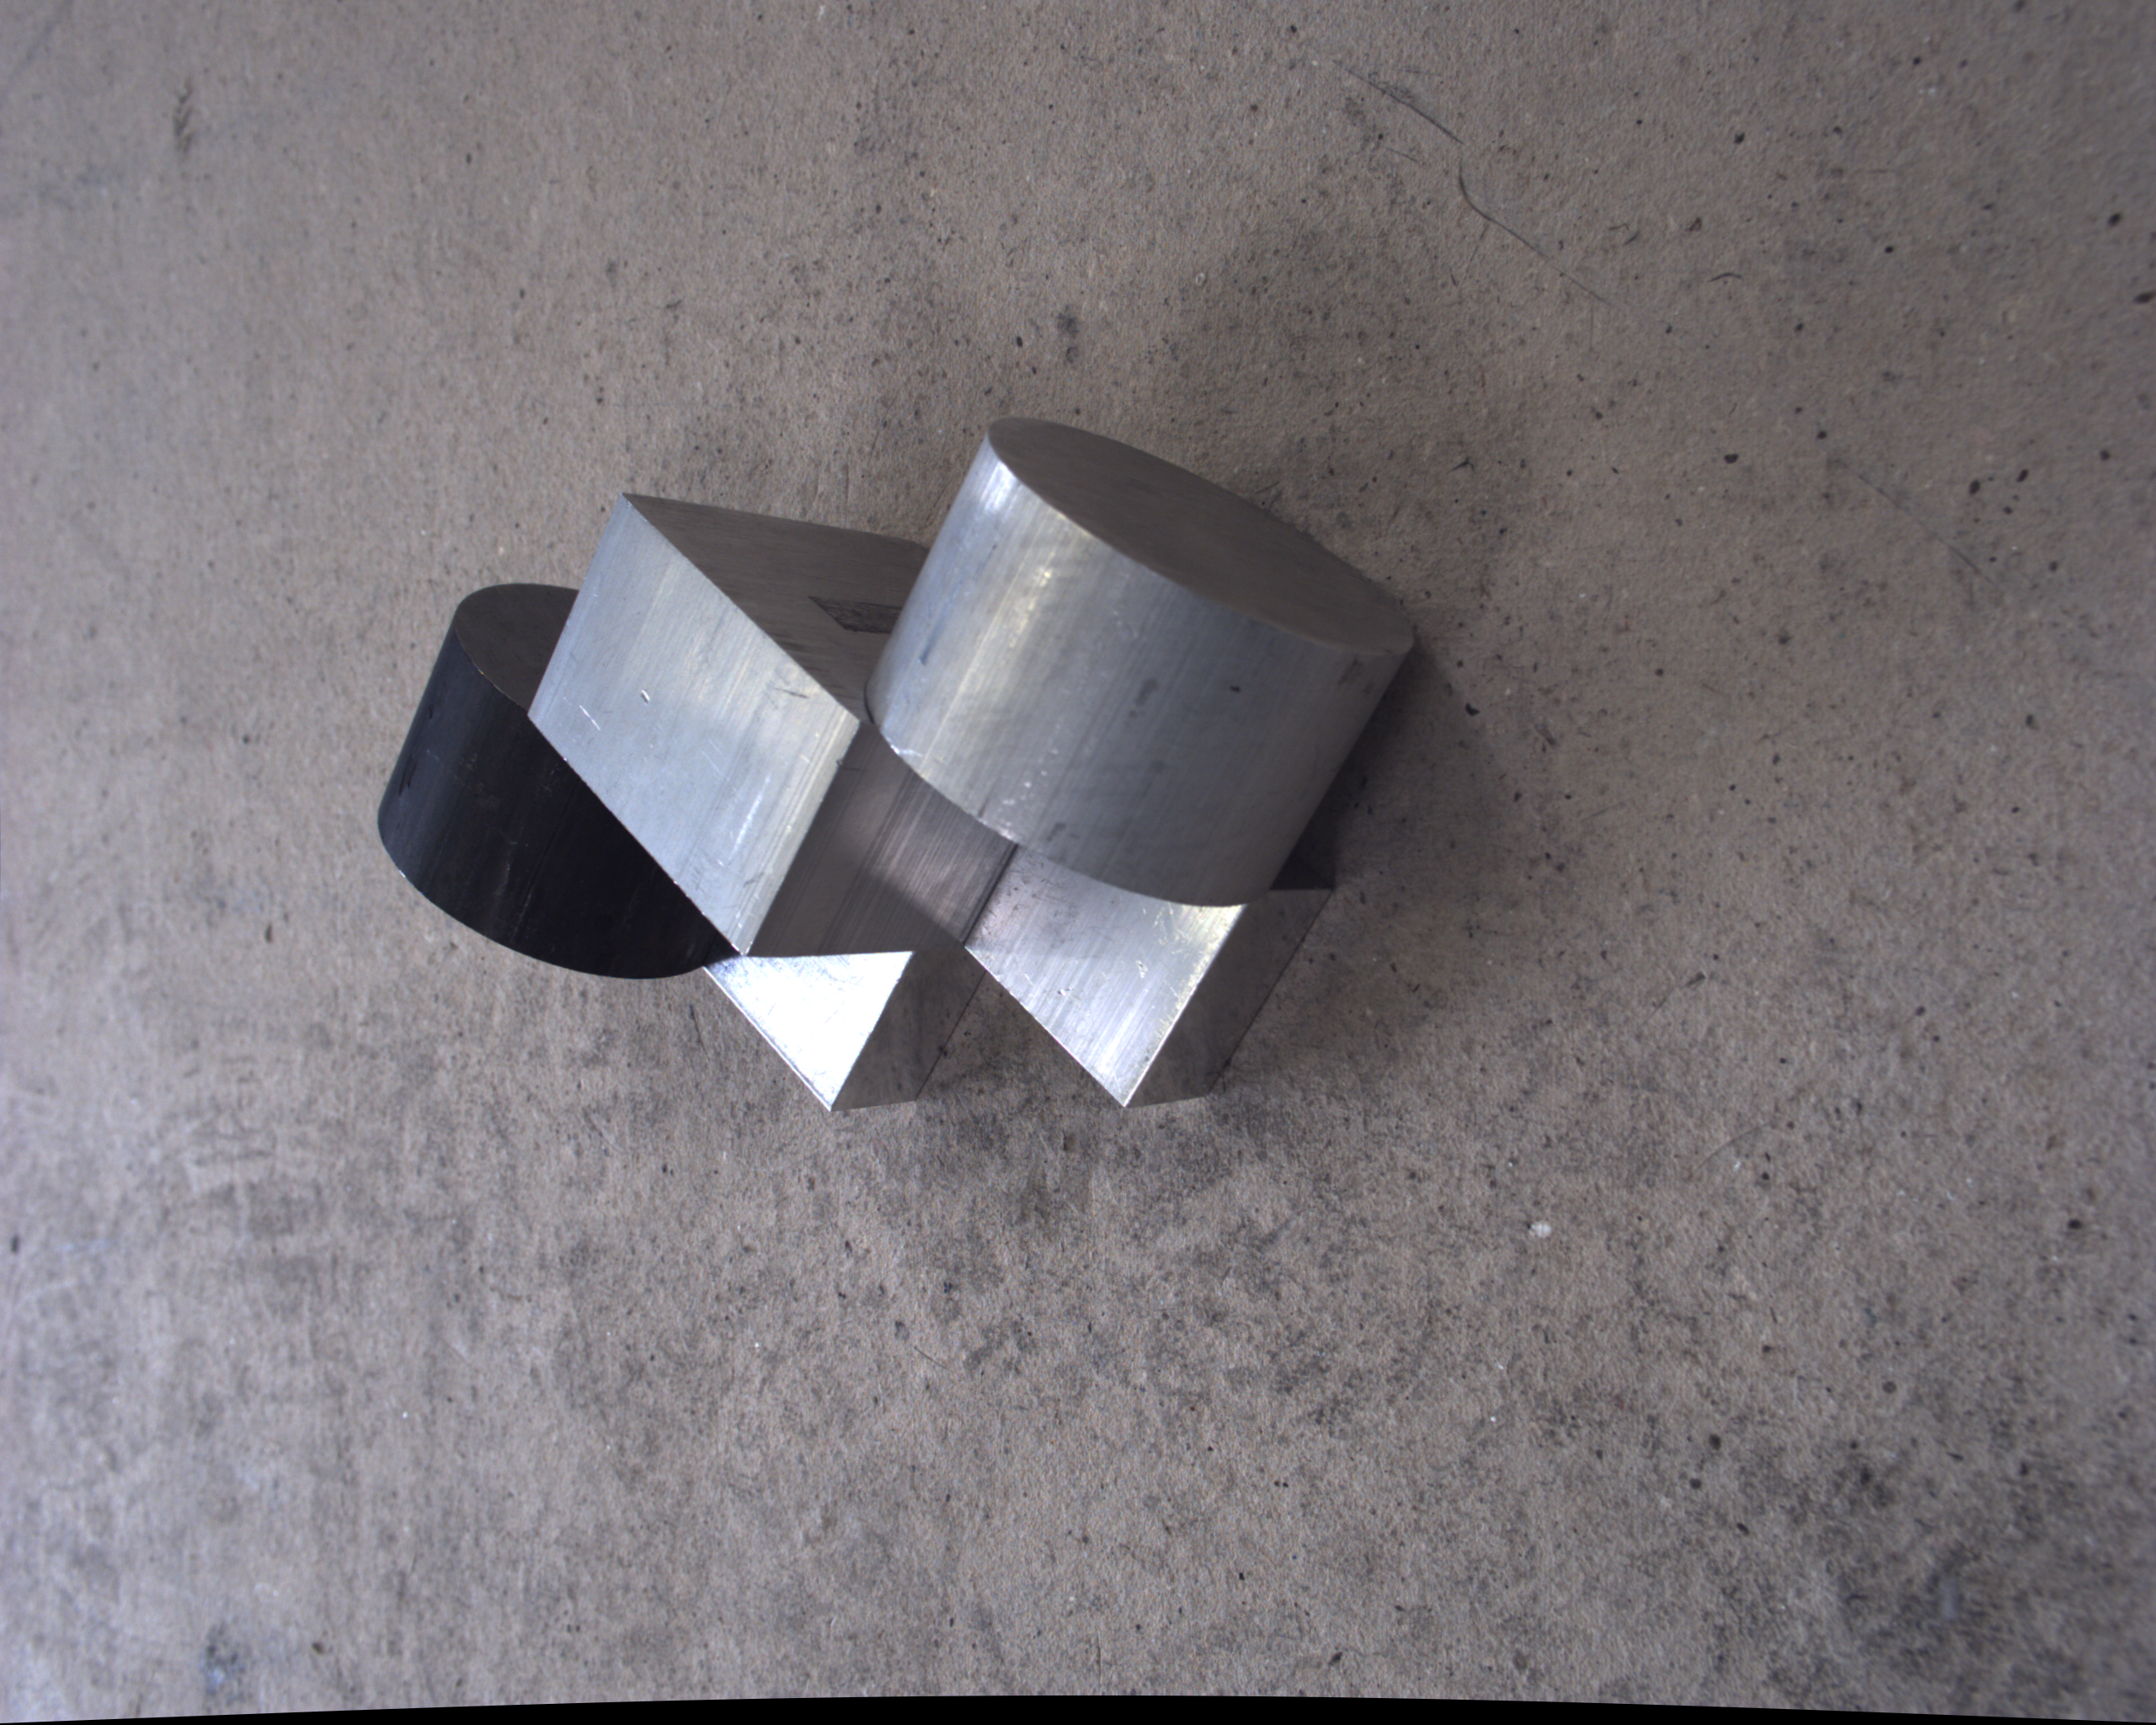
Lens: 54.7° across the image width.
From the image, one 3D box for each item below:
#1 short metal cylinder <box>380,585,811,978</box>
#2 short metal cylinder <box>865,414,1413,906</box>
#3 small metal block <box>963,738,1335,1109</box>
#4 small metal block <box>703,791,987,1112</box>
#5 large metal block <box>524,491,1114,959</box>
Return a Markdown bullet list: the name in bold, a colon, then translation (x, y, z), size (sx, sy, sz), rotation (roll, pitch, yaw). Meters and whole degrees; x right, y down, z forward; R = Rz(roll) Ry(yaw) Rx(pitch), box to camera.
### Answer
- **short metal cylinder**: translation (-0.105, -0.019, 0.457), size (0.080, 0.081, 0.050), rotation (43, 116, 31)
- **short metal cylinder**: translation (0.010, -0.036, 0.362), size (0.080, 0.081, 0.050), rotation (43, 116, 31)
- **small metal block**: translation (0.012, 0.011, 0.397), size (0.050, 0.025, 0.050), rotation (43, 116, 31)
- **small metal block**: translation (-0.048, 0.017, 0.447), size (0.050, 0.025, 0.050), rotation (43, 116, 31)
- **large metal block**: translation (-0.046, -0.026, 0.410), size (0.080, 0.081, 0.050), rotation (42, 115, 31)
